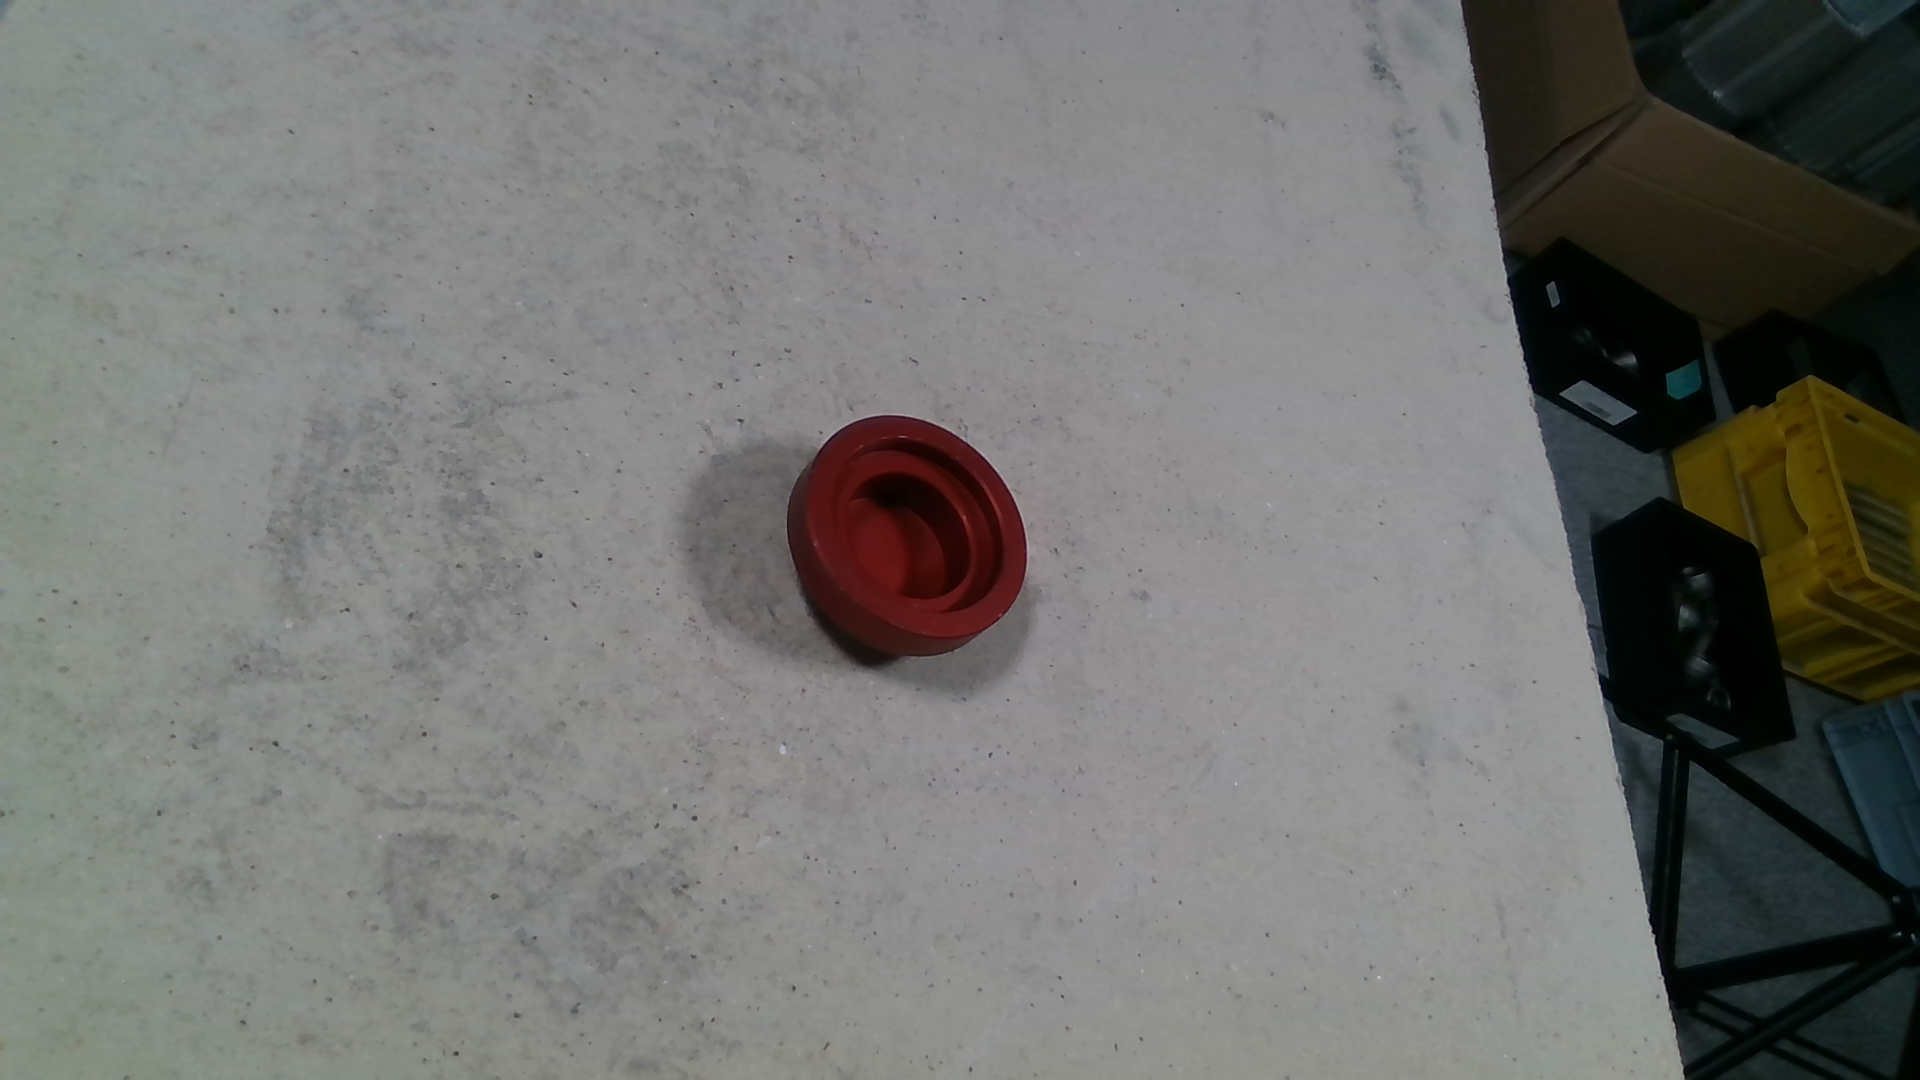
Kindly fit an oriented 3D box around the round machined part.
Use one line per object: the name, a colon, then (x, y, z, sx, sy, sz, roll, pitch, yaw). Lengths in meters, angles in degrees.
round machined part: (-0.025, 0.002, 0.559, 0.098, 0.042, 0.098, 14, 59, -25)
